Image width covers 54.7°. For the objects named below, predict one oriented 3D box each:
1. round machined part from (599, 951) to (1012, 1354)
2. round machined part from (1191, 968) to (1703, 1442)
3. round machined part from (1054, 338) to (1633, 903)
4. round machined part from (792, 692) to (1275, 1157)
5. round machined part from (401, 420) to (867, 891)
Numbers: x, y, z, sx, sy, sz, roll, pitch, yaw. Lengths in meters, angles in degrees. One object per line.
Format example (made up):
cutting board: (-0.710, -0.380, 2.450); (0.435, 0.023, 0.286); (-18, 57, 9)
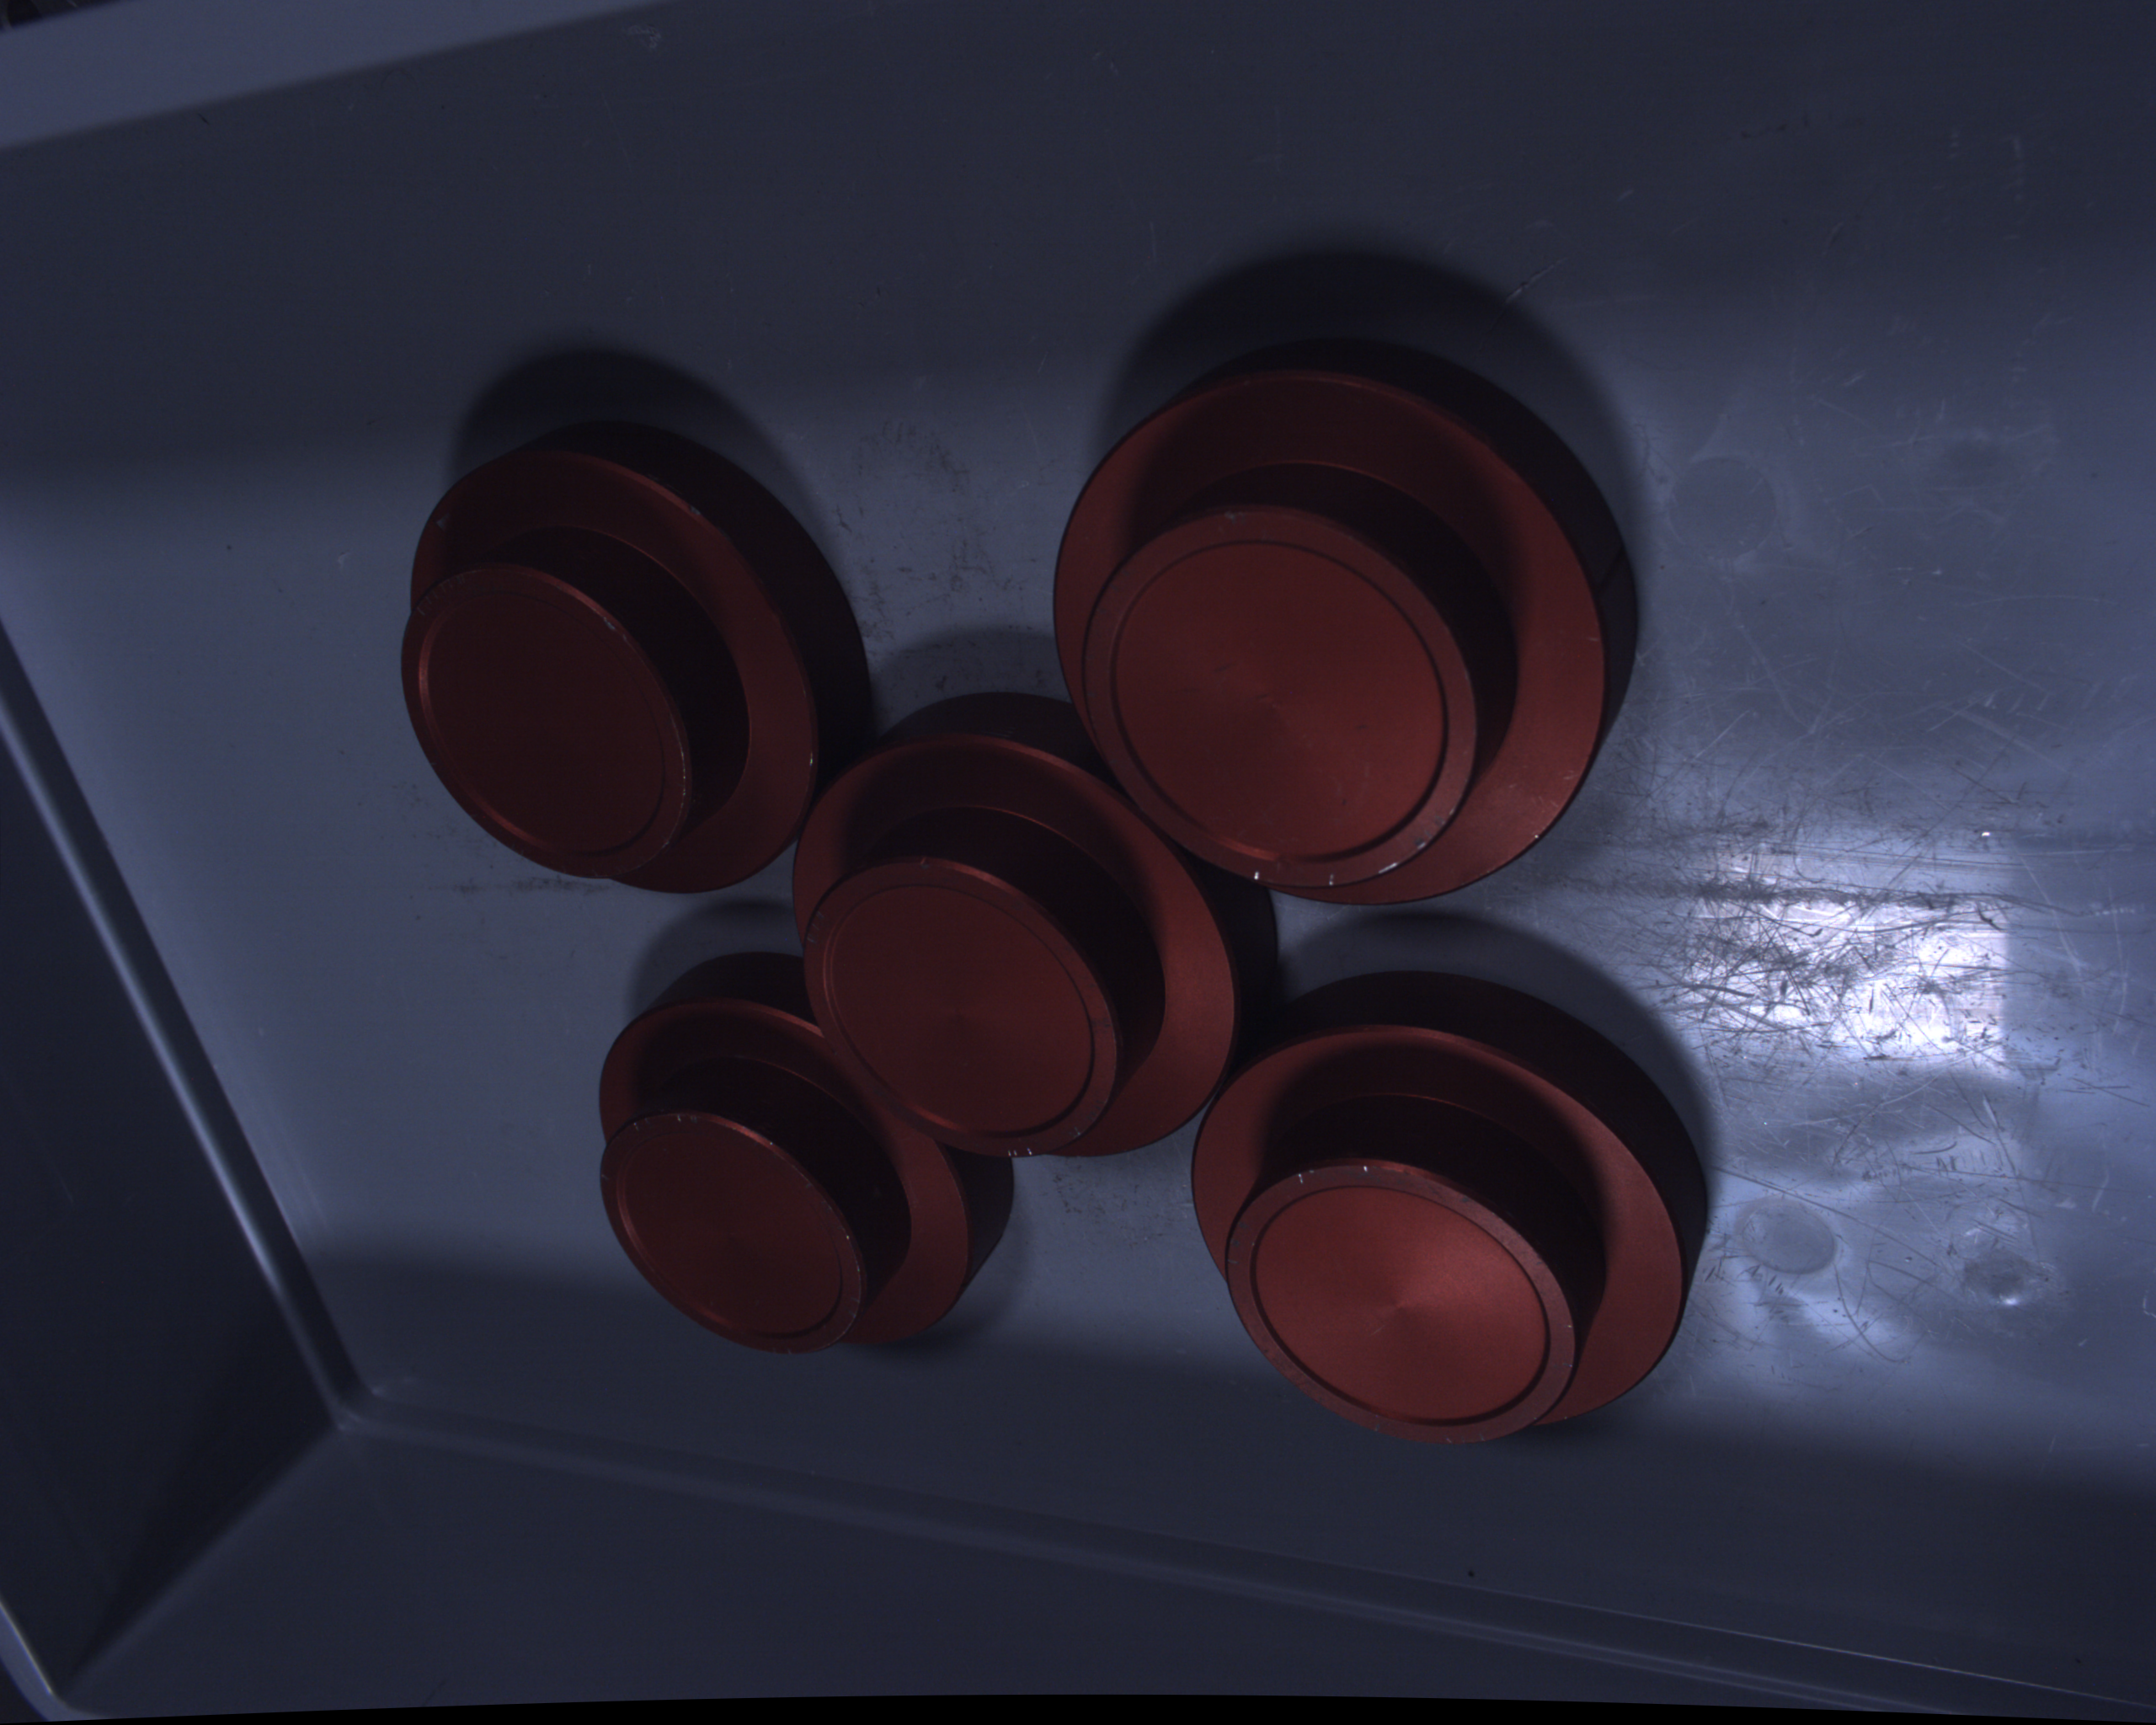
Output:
round machined part: (-0.068, 0.072, 0.475); (0.098, 0.042, 0.097); (13, 124, 20)
round machined part: (0.067, 0.072, 0.404); (0.098, 0.042, 0.097); (13, 124, 20)
round machined part: (0.040, -0.035, 0.352); (0.098, 0.042, 0.097); (13, 124, 20)
round machined part: (-0.014, 0.019, 0.413); (0.098, 0.042, 0.097); (13, 124, 20)
round machined part: (-0.096, -0.036, 0.422); (0.098, 0.042, 0.097); (13, 124, 20)
